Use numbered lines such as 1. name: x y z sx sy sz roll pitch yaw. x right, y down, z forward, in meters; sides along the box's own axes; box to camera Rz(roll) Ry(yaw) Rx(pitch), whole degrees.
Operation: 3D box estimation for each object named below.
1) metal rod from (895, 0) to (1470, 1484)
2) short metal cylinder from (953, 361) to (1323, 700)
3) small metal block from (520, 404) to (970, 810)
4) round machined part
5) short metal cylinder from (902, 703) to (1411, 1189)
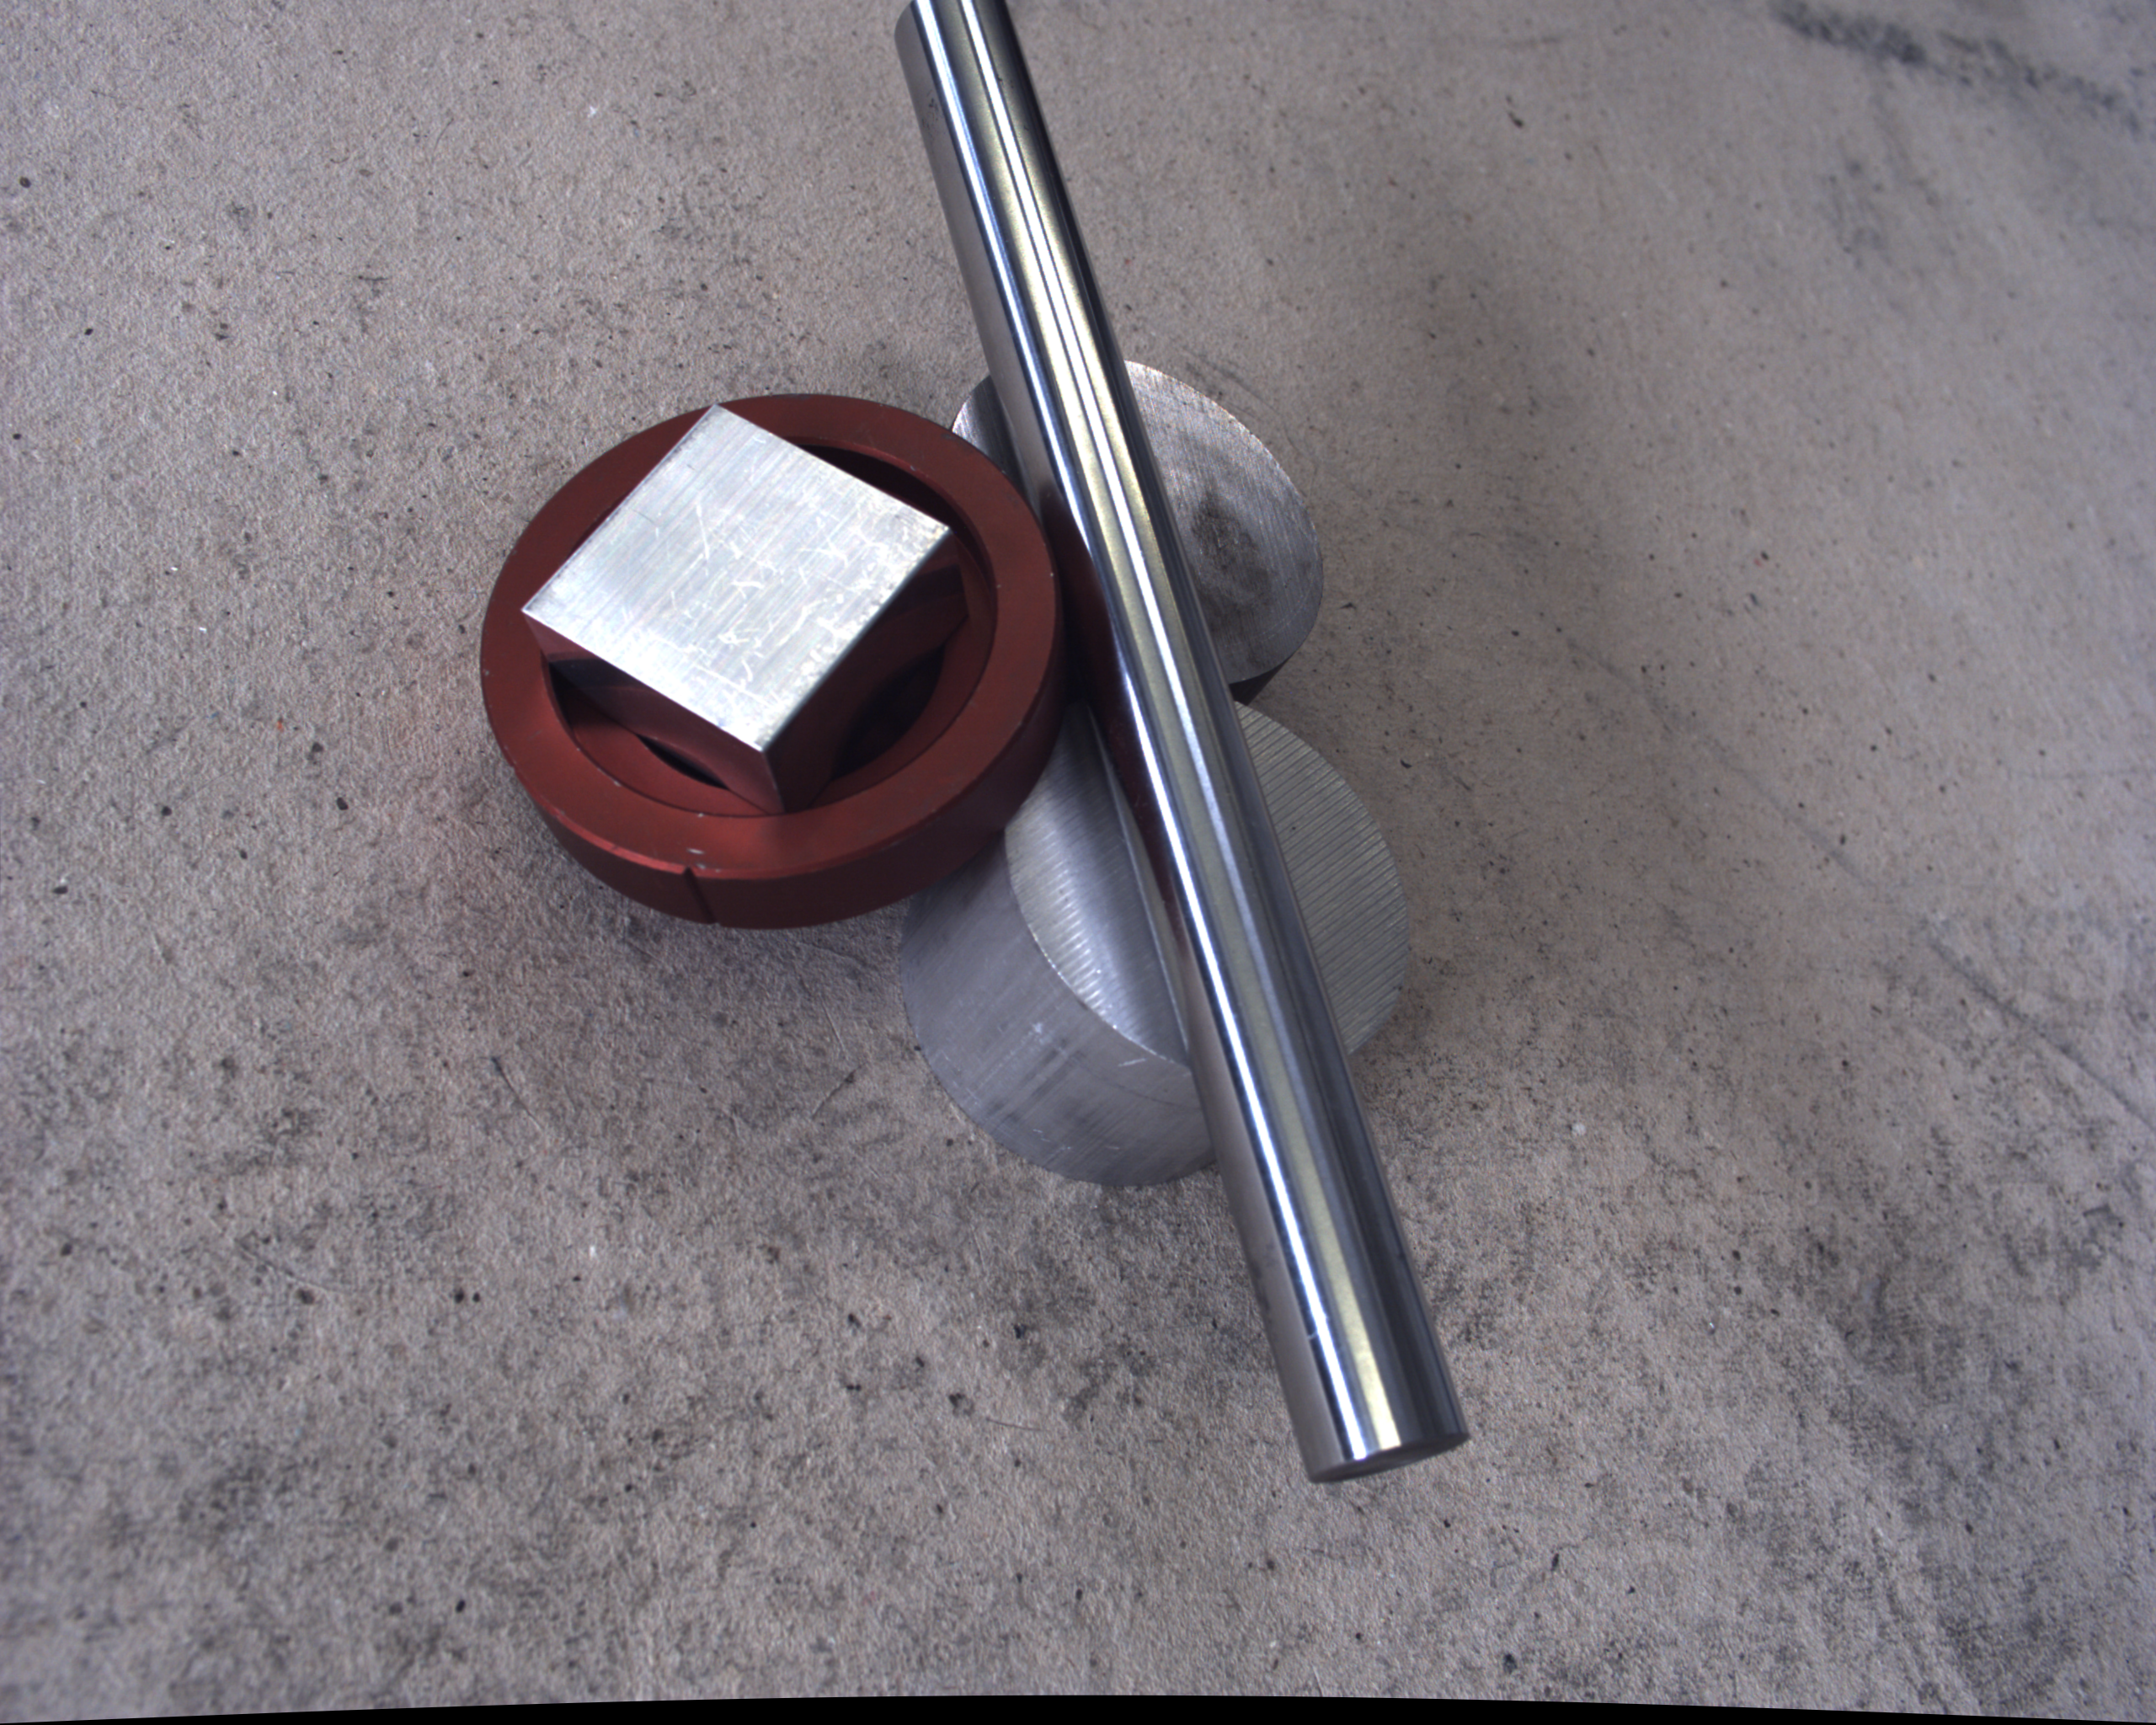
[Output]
1. metal rod: 0.010 -0.042 0.373 0.025 0.025 0.299 -1 62 -29
2. short metal cylinder: 0.002 -0.057 0.425 0.081 0.050 0.080 14 56 -21
3. small metal block: -0.055 -0.042 0.349 0.050 0.025 0.050 30 69 18
4. round machined part: -0.051 -0.032 0.370 0.099 0.042 0.098 -2 63 3
5. short metal cylinder: 0.014 0.014 0.388 0.081 0.050 0.080 14 55 -20
